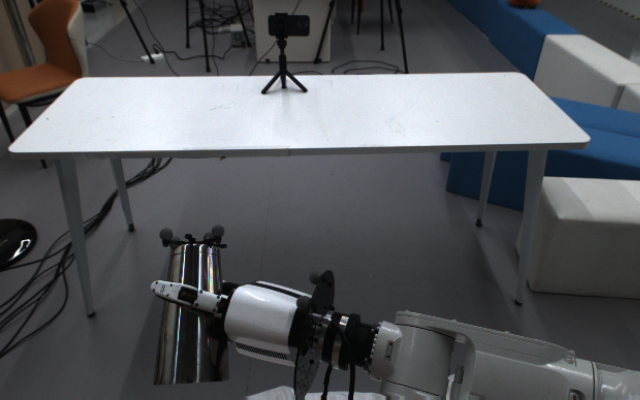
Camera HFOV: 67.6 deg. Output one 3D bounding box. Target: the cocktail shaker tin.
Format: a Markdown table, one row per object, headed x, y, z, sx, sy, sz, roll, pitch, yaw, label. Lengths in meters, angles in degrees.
| x | y | z | sx | sy | sz | roll | pitch | yaw | label |
| --- | --- | --- | --- | --- | --- | --- | --- | --- | --- |
| -0.166 | 0.149 | 0.628 | 0.093 | 0.093 | 0.170 | -2 | 70 | -5 | cocktail shaker tin |
